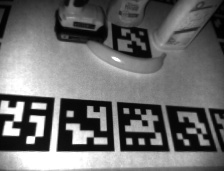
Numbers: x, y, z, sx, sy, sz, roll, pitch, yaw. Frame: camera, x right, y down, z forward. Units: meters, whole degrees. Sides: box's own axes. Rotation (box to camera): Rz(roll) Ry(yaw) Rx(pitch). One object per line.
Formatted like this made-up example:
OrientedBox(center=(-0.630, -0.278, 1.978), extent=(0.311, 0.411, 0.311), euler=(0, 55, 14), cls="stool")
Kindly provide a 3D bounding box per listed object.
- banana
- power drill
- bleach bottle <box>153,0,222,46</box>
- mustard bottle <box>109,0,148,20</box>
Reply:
OrientedBox(center=(0.053, -0.083, 0.510), extent=(0.198, 0.039, 0.074), euler=(7, 65, -12), cls="banana")
OrientedBox(center=(-0.030, -0.208, 0.440), extent=(0.186, 0.186, 0.057), euler=(3, 55, -19), cls="power drill")
OrientedBox(center=(0.195, -0.191, 0.502), extent=(0.103, 0.250, 0.067), euler=(-3, 64, -18), cls="bleach bottle")
OrientedBox(center=(0.062, -0.244, 0.512), extent=(0.097, 0.191, 0.058), euler=(6, 61, -15), cls="mustard bottle")
